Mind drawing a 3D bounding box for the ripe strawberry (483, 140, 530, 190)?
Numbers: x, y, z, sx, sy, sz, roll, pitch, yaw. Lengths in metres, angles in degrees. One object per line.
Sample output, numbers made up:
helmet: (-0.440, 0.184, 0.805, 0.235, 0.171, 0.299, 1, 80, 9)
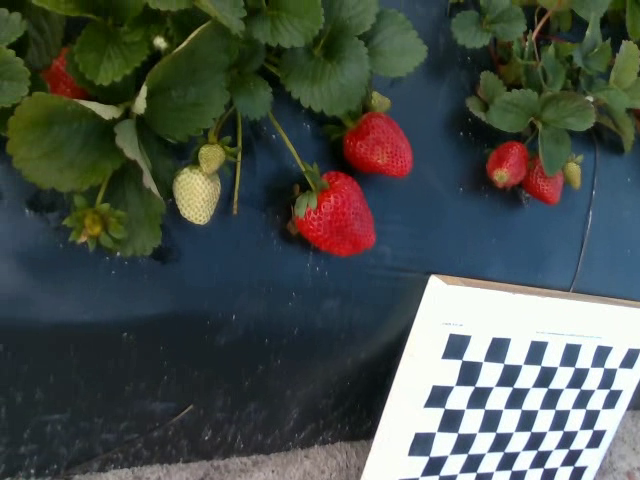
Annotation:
ripe strawberry: (0.157, -0.059, 0.527, 0.038, 0.047, 0.053, 18, 35, 28)

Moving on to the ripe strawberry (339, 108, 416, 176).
ripe strawberry: (0.048, -0.067, 0.469, 0.059, 0.051, 0.051, 43, 8, 15)

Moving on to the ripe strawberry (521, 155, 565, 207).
ripe strawberry: (0.197, -0.046, 0.539, 0.043, 0.049, 0.041, 4, -42, -27)

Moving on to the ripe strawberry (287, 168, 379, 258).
ripe strawberry: (0.016, -0.014, 0.446, 0.065, 0.058, 0.044, 44, 4, -17)
